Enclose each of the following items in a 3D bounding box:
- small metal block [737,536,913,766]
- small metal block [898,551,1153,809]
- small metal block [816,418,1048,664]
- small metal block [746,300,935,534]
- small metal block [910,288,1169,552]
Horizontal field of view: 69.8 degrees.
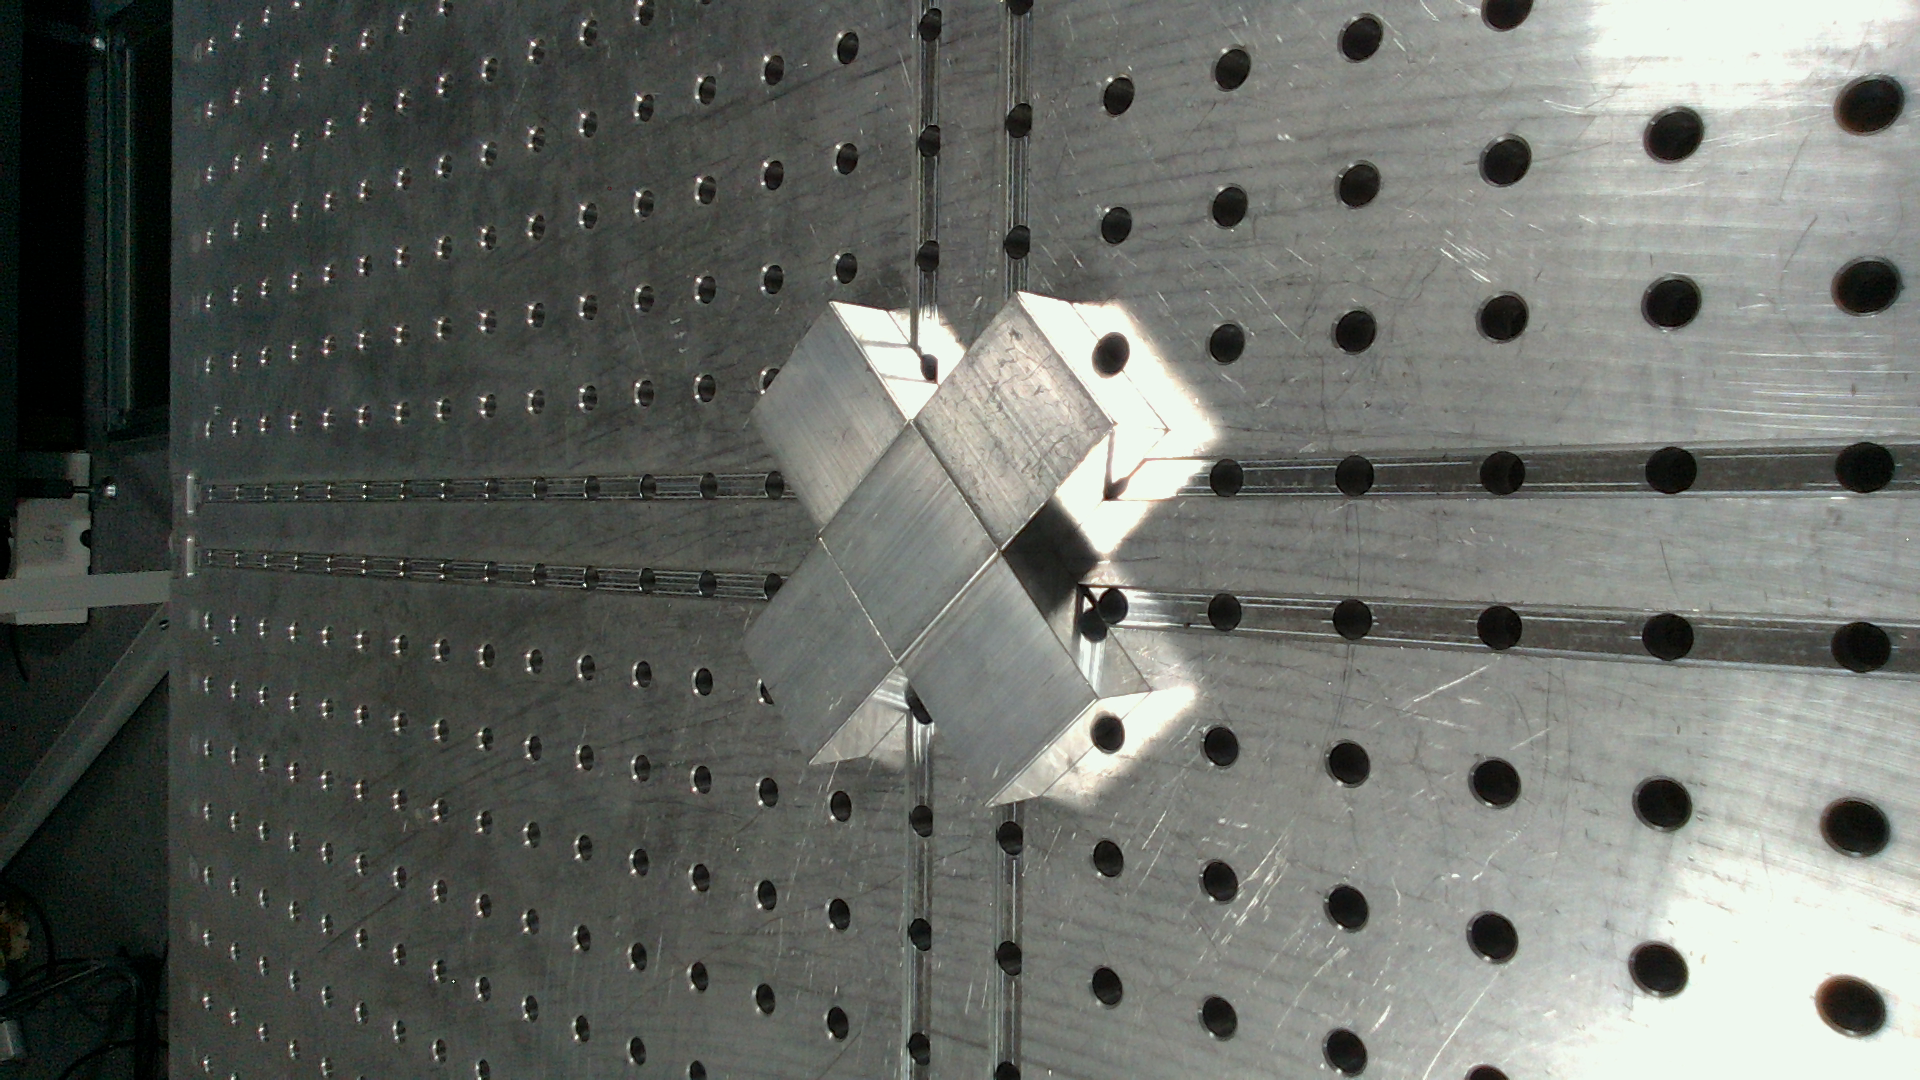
[{"bbox_3d":[-0.037,0.034,0.429,0.050,0.025,0.050,-49,61,29],"label":"small metal block"},{"bbox_3d":[0.017,0.038,0.383,0.050,0.025,0.050,-49,61,29],"label":"small metal block"},{"bbox_3d":[-0.009,0.001,0.404,0.050,0.025,0.050,-49,61,29],"label":"small metal block"},{"bbox_3d":[-0.033,-0.037,0.426,0.050,0.025,0.050,-49,61,29],"label":"small metal block"},{"bbox_3d":[0.021,-0.032,0.380,0.050,0.025,0.050,-49,61,29],"label":"small metal block"}]
